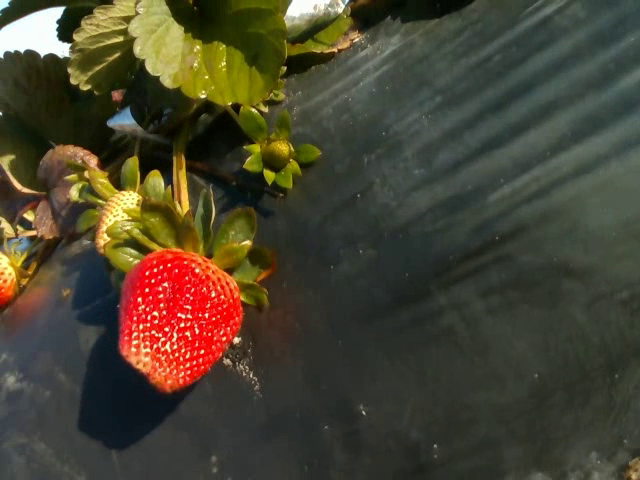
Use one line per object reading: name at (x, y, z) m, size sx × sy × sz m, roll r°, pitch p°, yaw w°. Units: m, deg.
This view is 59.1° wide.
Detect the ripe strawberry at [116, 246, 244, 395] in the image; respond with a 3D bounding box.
ripe strawberry at (-0.045, 0.029, 0.178) m, size 0.042 × 0.042 × 0.059 m, roll -17°, pitch 39°, yaw 10°
